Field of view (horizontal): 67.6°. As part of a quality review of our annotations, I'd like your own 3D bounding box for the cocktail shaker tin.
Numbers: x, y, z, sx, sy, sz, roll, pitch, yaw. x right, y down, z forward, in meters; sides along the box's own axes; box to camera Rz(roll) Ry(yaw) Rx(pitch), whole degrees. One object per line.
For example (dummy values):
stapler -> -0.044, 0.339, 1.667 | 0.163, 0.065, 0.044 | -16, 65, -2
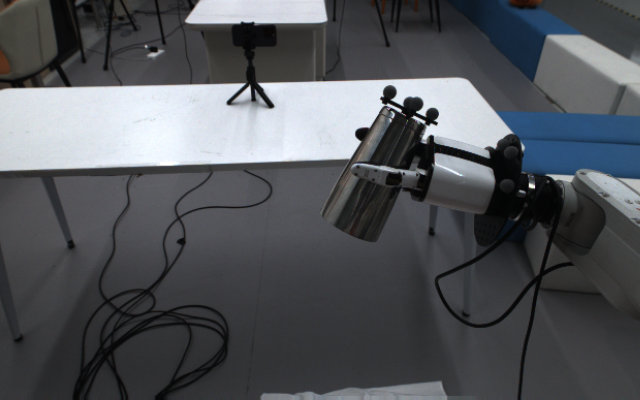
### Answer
cocktail shaker tin -> 0.080, -0.041, 0.668 | 0.093, 0.170, 0.093 | 24, 12, -6
